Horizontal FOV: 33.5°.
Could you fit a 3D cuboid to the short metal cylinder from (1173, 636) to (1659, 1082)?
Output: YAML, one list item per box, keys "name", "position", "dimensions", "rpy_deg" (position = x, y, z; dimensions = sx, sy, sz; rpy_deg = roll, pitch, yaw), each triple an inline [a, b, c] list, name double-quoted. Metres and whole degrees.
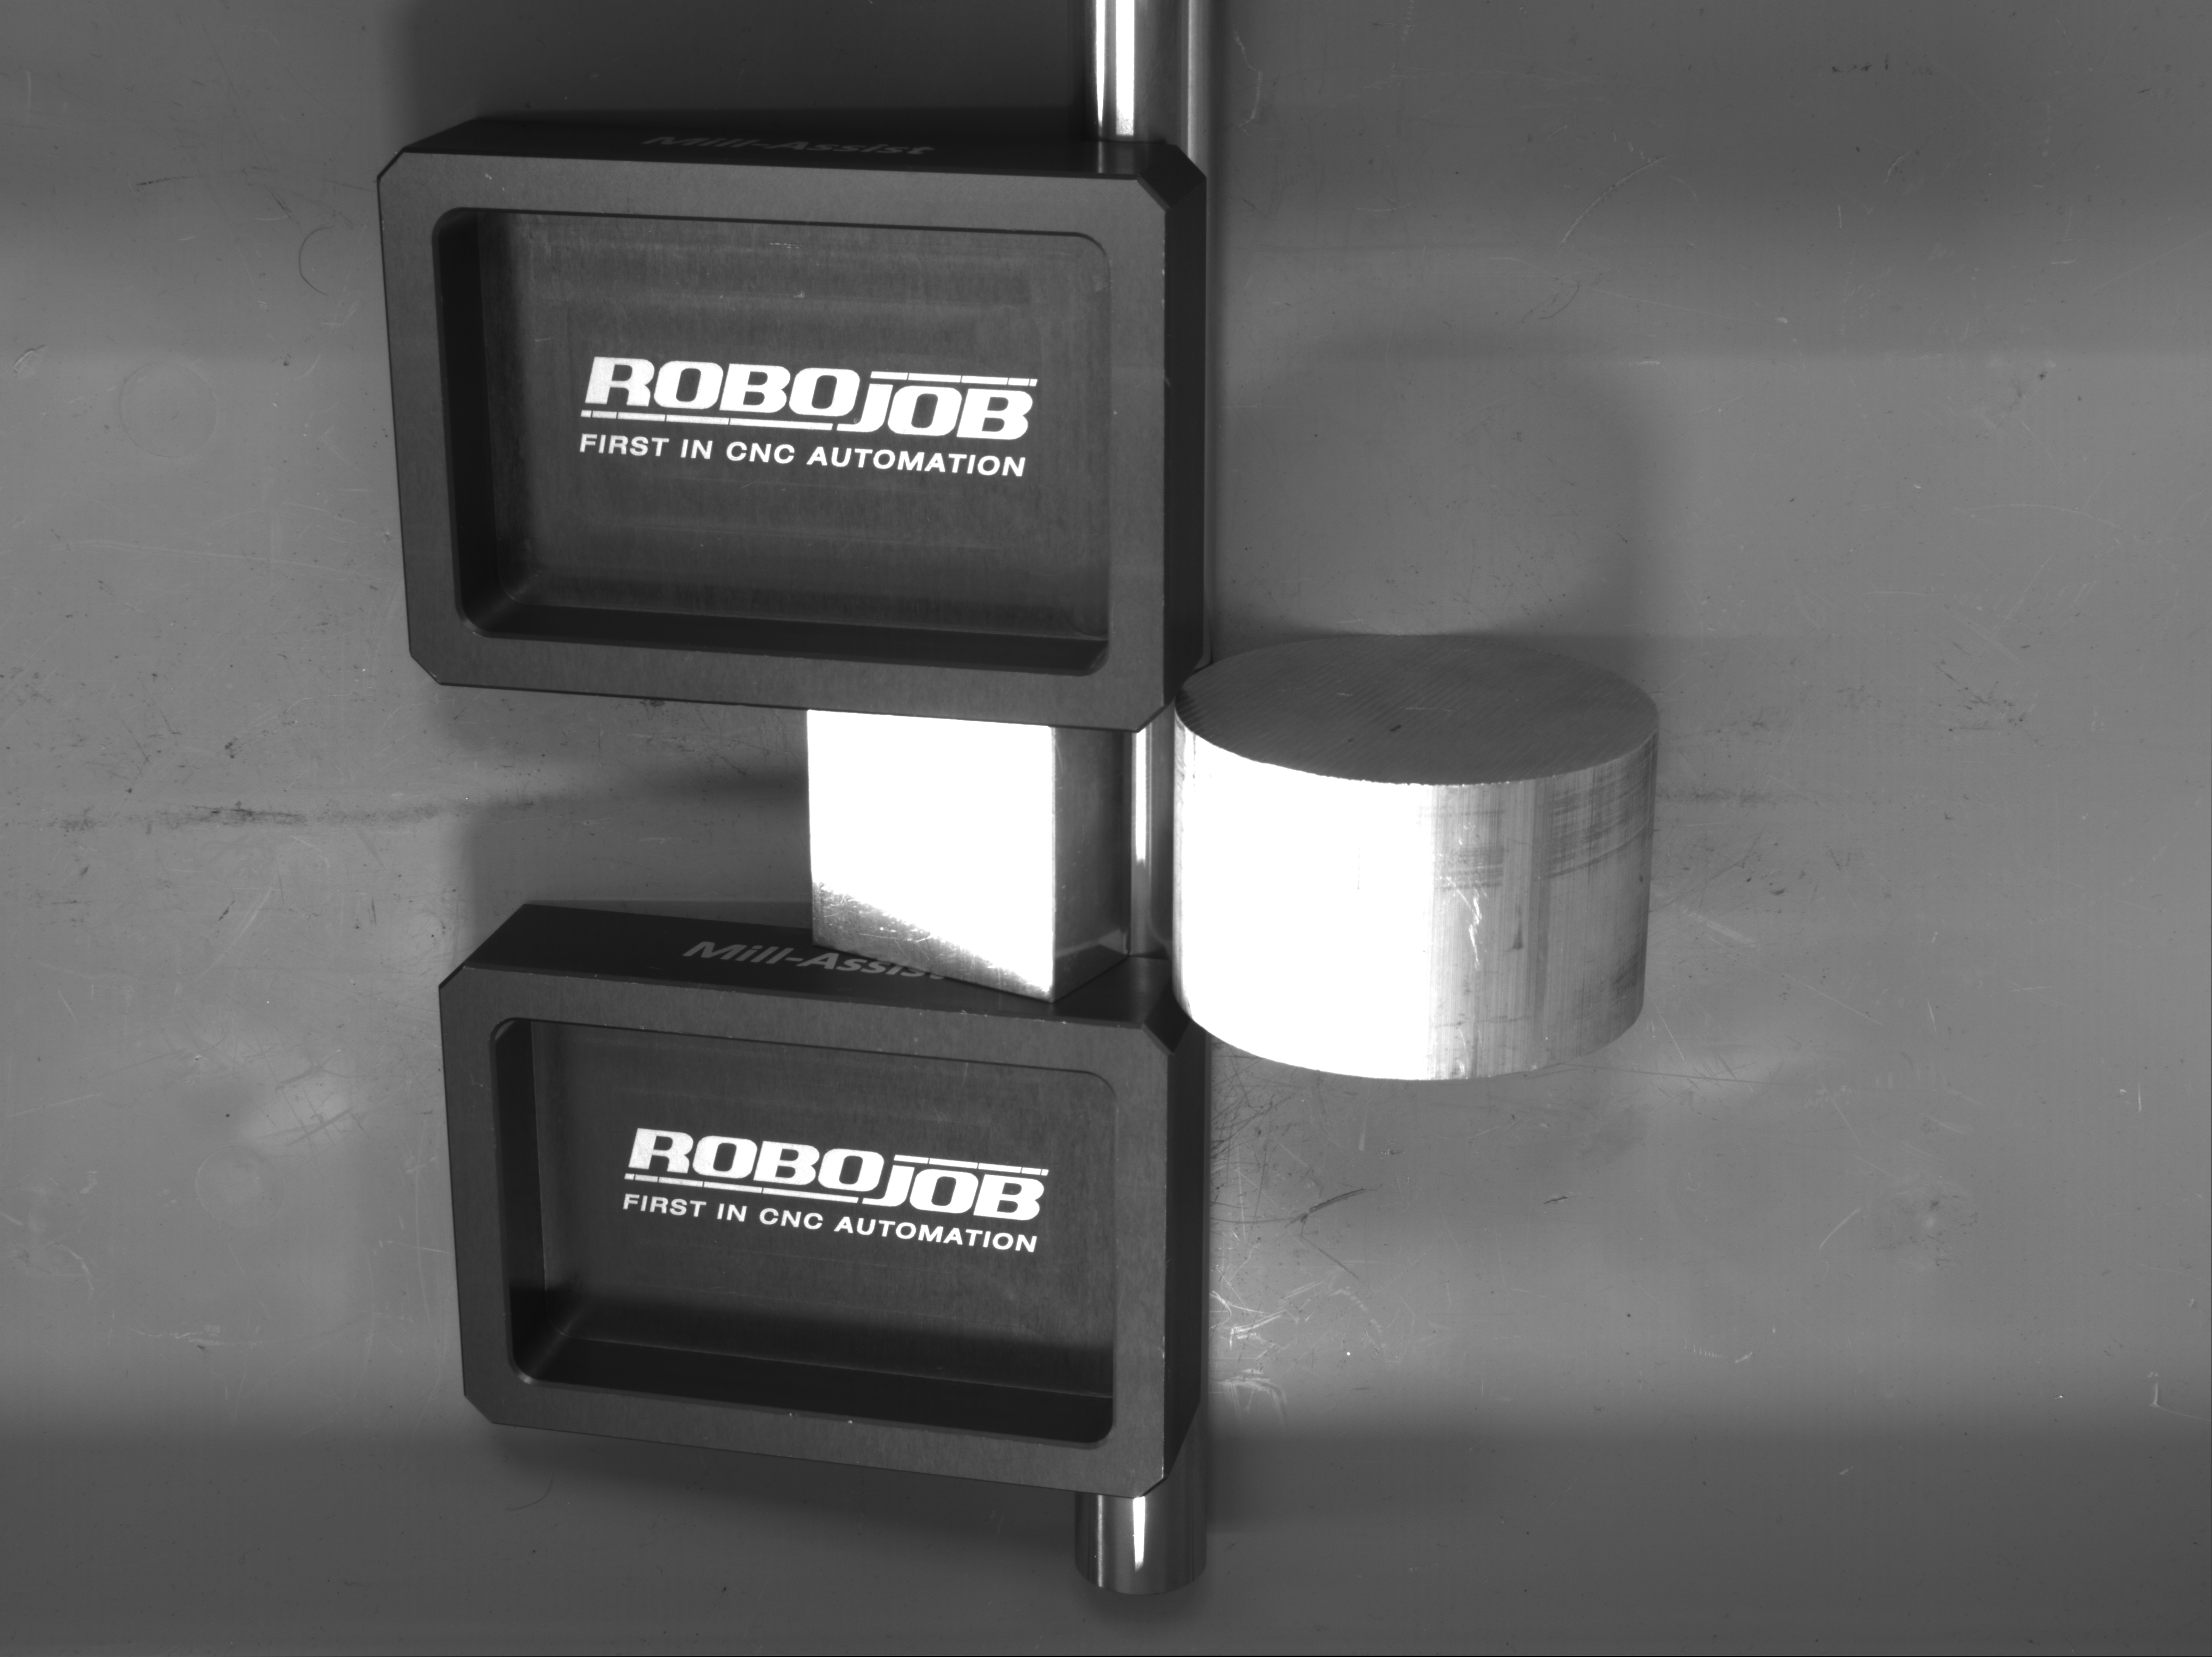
- name: "short metal cylinder"
  position: [0.051, 0.003, 0.615]
  dimensions: [0.080, 0.080, 0.050]
  rpy_deg: [0, 110, 0]

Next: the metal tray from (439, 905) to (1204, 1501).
- name: "metal tray"
  position: [-0.049, 0.065, 0.649]
  dimensions: [0.130, 0.030, 0.090]
  rpy_deg: [5, 111, 12]

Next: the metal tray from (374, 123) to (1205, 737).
- name: "metal tray"
  position: [-0.051, -0.066, 0.601]
  dimensions: [0.130, 0.030, 0.090]
  rpy_deg: [4, 111, 12]

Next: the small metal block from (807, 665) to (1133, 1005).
- name: "small metal block"
  position: [-0.023, -0.002, 0.631]
  dimensions: [0.050, 0.025, 0.050]
  rpy_deg: [12, 113, 29]

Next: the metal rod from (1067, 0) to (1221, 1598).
- name: "metal rod"
  position: [0.006, -0.003, 0.641]
  dimensions: [0.025, 0.025, 0.300]
  rpy_deg: [0, 110, 0]
